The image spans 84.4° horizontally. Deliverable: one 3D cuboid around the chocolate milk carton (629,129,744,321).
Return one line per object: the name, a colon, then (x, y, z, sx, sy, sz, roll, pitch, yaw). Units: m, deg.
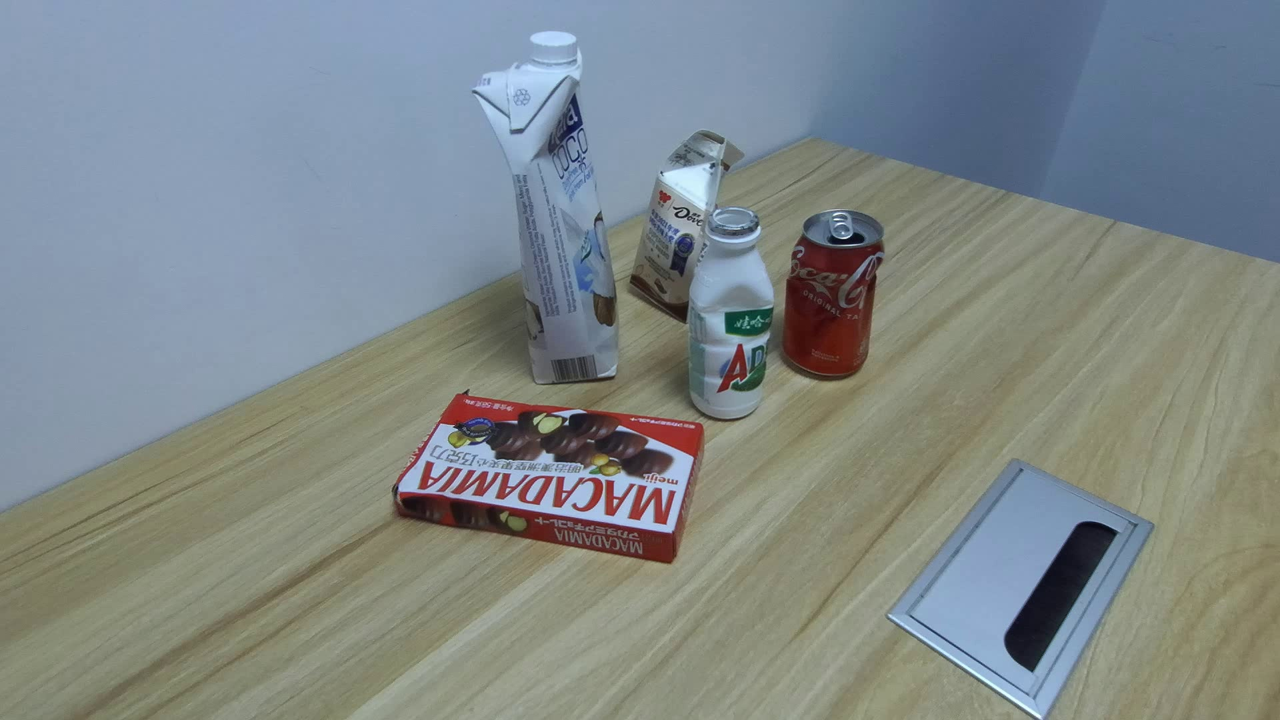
chocolate milk carton: (0.048, -0.118, 0.597, 0.076, 0.155, 0.089, 30, 33, 31)

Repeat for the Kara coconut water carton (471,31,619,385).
Kara coconut water carton: (-0.058, -0.098, 0.500, 0.069, 0.239, 0.115, -3, 34, 2)

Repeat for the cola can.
cola can: (0.143, -0.048, 0.524, 0.066, 0.117, 0.066, 24, 44, 33)

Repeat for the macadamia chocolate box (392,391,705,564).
macadamia chocolate box: (-0.057, 0.069, 0.456, 0.182, 0.028, 0.106, 6, 39, 13)

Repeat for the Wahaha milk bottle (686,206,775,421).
Wahaha milk bottle: (0.059, -0.028, 0.469, 0.056, 0.148, 0.056, -1, 38, 1)
